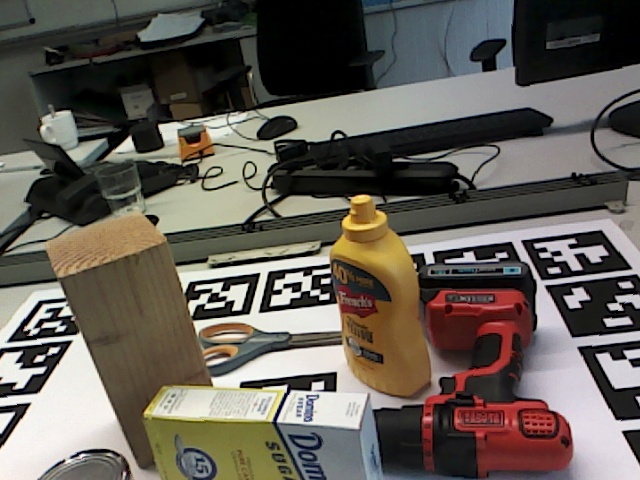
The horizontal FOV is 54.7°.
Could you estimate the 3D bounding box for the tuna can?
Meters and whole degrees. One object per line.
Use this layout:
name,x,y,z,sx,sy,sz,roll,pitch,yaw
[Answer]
tuna can,-0.192,0.214,0.507,0.086,0.033,0.086,-8,28,4

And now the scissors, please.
scissors,-0.074,0.109,0.688,0.203,0.016,0.088,-8,24,6

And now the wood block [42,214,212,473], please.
wood block,-0.166,0.094,0.567,0.090,0.205,0.090,-23,30,-22

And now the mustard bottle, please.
mustard bottle,0.050,0.046,0.588,0.058,0.191,0.097,-30,34,-31

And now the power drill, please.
power drill,0.108,0.113,0.565,0.185,0.057,0.187,-3,35,16

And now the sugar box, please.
sugar box,-0.033,0.163,0.491,0.177,0.092,0.045,-2,25,14
